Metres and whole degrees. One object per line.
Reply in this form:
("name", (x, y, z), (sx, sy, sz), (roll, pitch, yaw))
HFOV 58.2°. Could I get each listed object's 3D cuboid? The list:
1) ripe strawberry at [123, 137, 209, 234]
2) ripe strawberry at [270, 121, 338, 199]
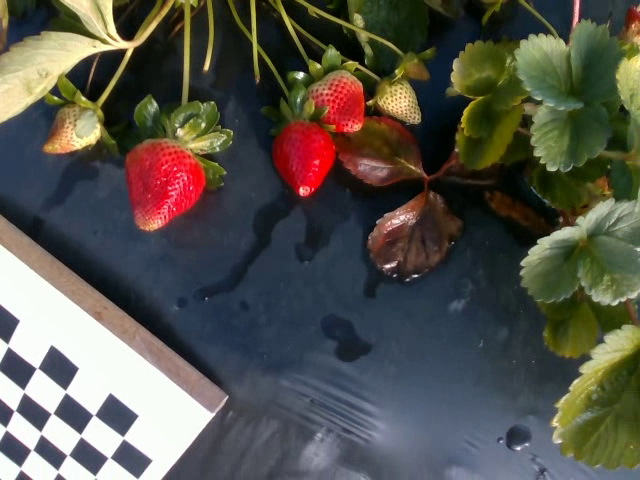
("ripe strawberry", (-0.096, -0.032, 0.340), (0.050, 0.065, 0.050), (2, -35, 21))
("ripe strawberry", (-0.012, -0.046, 0.349), (0.044, 0.055, 0.041), (-24, -41, 27))
